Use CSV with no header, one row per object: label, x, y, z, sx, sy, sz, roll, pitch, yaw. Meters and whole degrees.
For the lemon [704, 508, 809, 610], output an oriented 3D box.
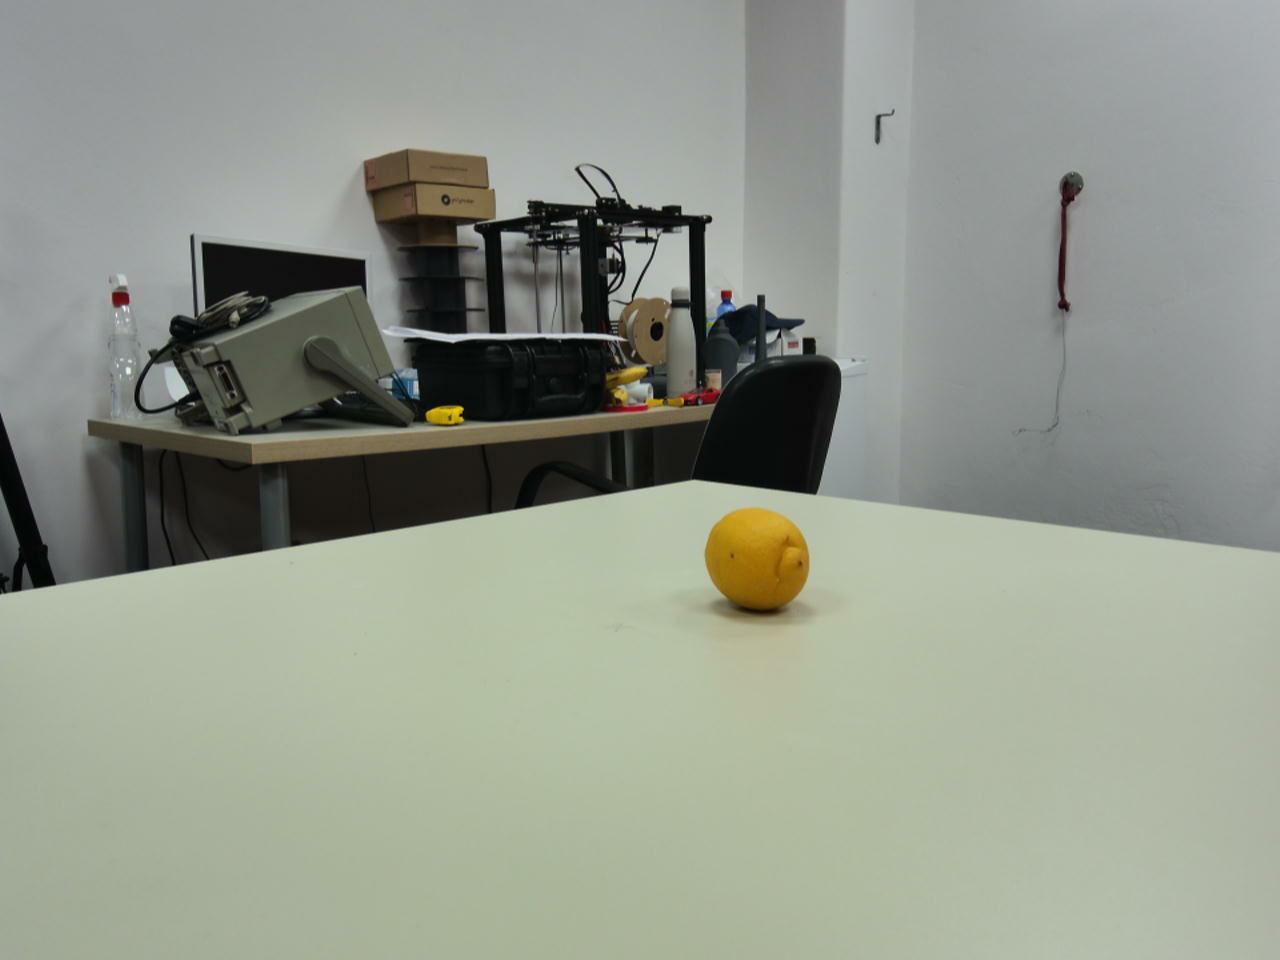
lemon,0.070,0.048,0.603,0.061,0.059,0.067,0,6,-1
